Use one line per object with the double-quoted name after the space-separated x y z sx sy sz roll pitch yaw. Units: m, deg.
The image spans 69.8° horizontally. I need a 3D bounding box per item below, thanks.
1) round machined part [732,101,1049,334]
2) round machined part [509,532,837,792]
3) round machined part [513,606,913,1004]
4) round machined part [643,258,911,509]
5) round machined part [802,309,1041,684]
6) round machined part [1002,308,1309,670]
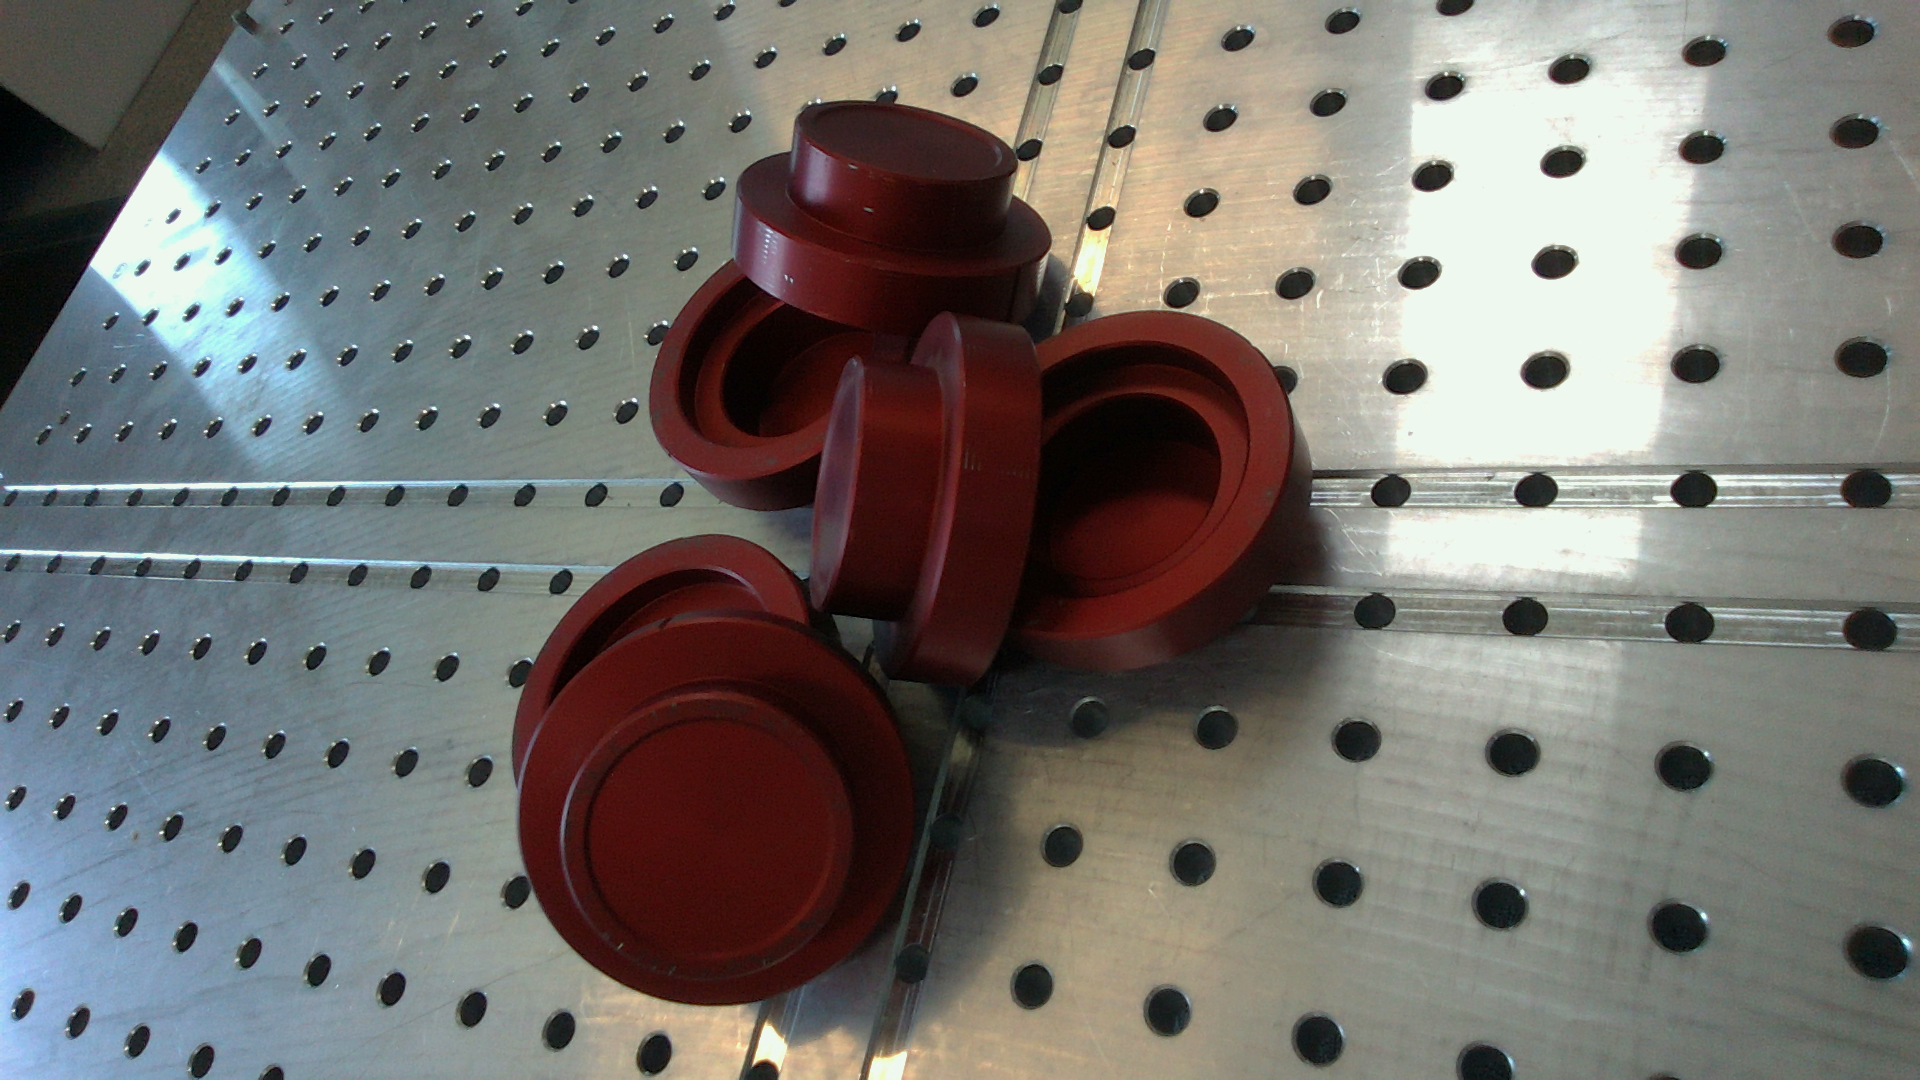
-0.020 -0.104 0.425 0.098 0.042 0.098 10 32 -6 "round machined part"
-0.077 0.050 0.396 0.098 0.042 0.098 -13 56 21 "round machined part"
-0.061 0.067 0.340 0.098 0.042 0.098 0 94 -5 "round machined part"
-0.049 -0.052 0.443 0.098 0.042 0.098 -13 56 21 "round machined part"
-0.015 -0.013 0.362 0.042 0.098 0.098 10 57 -14 "round machined part"
0.044 -0.010 0.367 0.098 0.042 0.098 -13 56 21 "round machined part"
